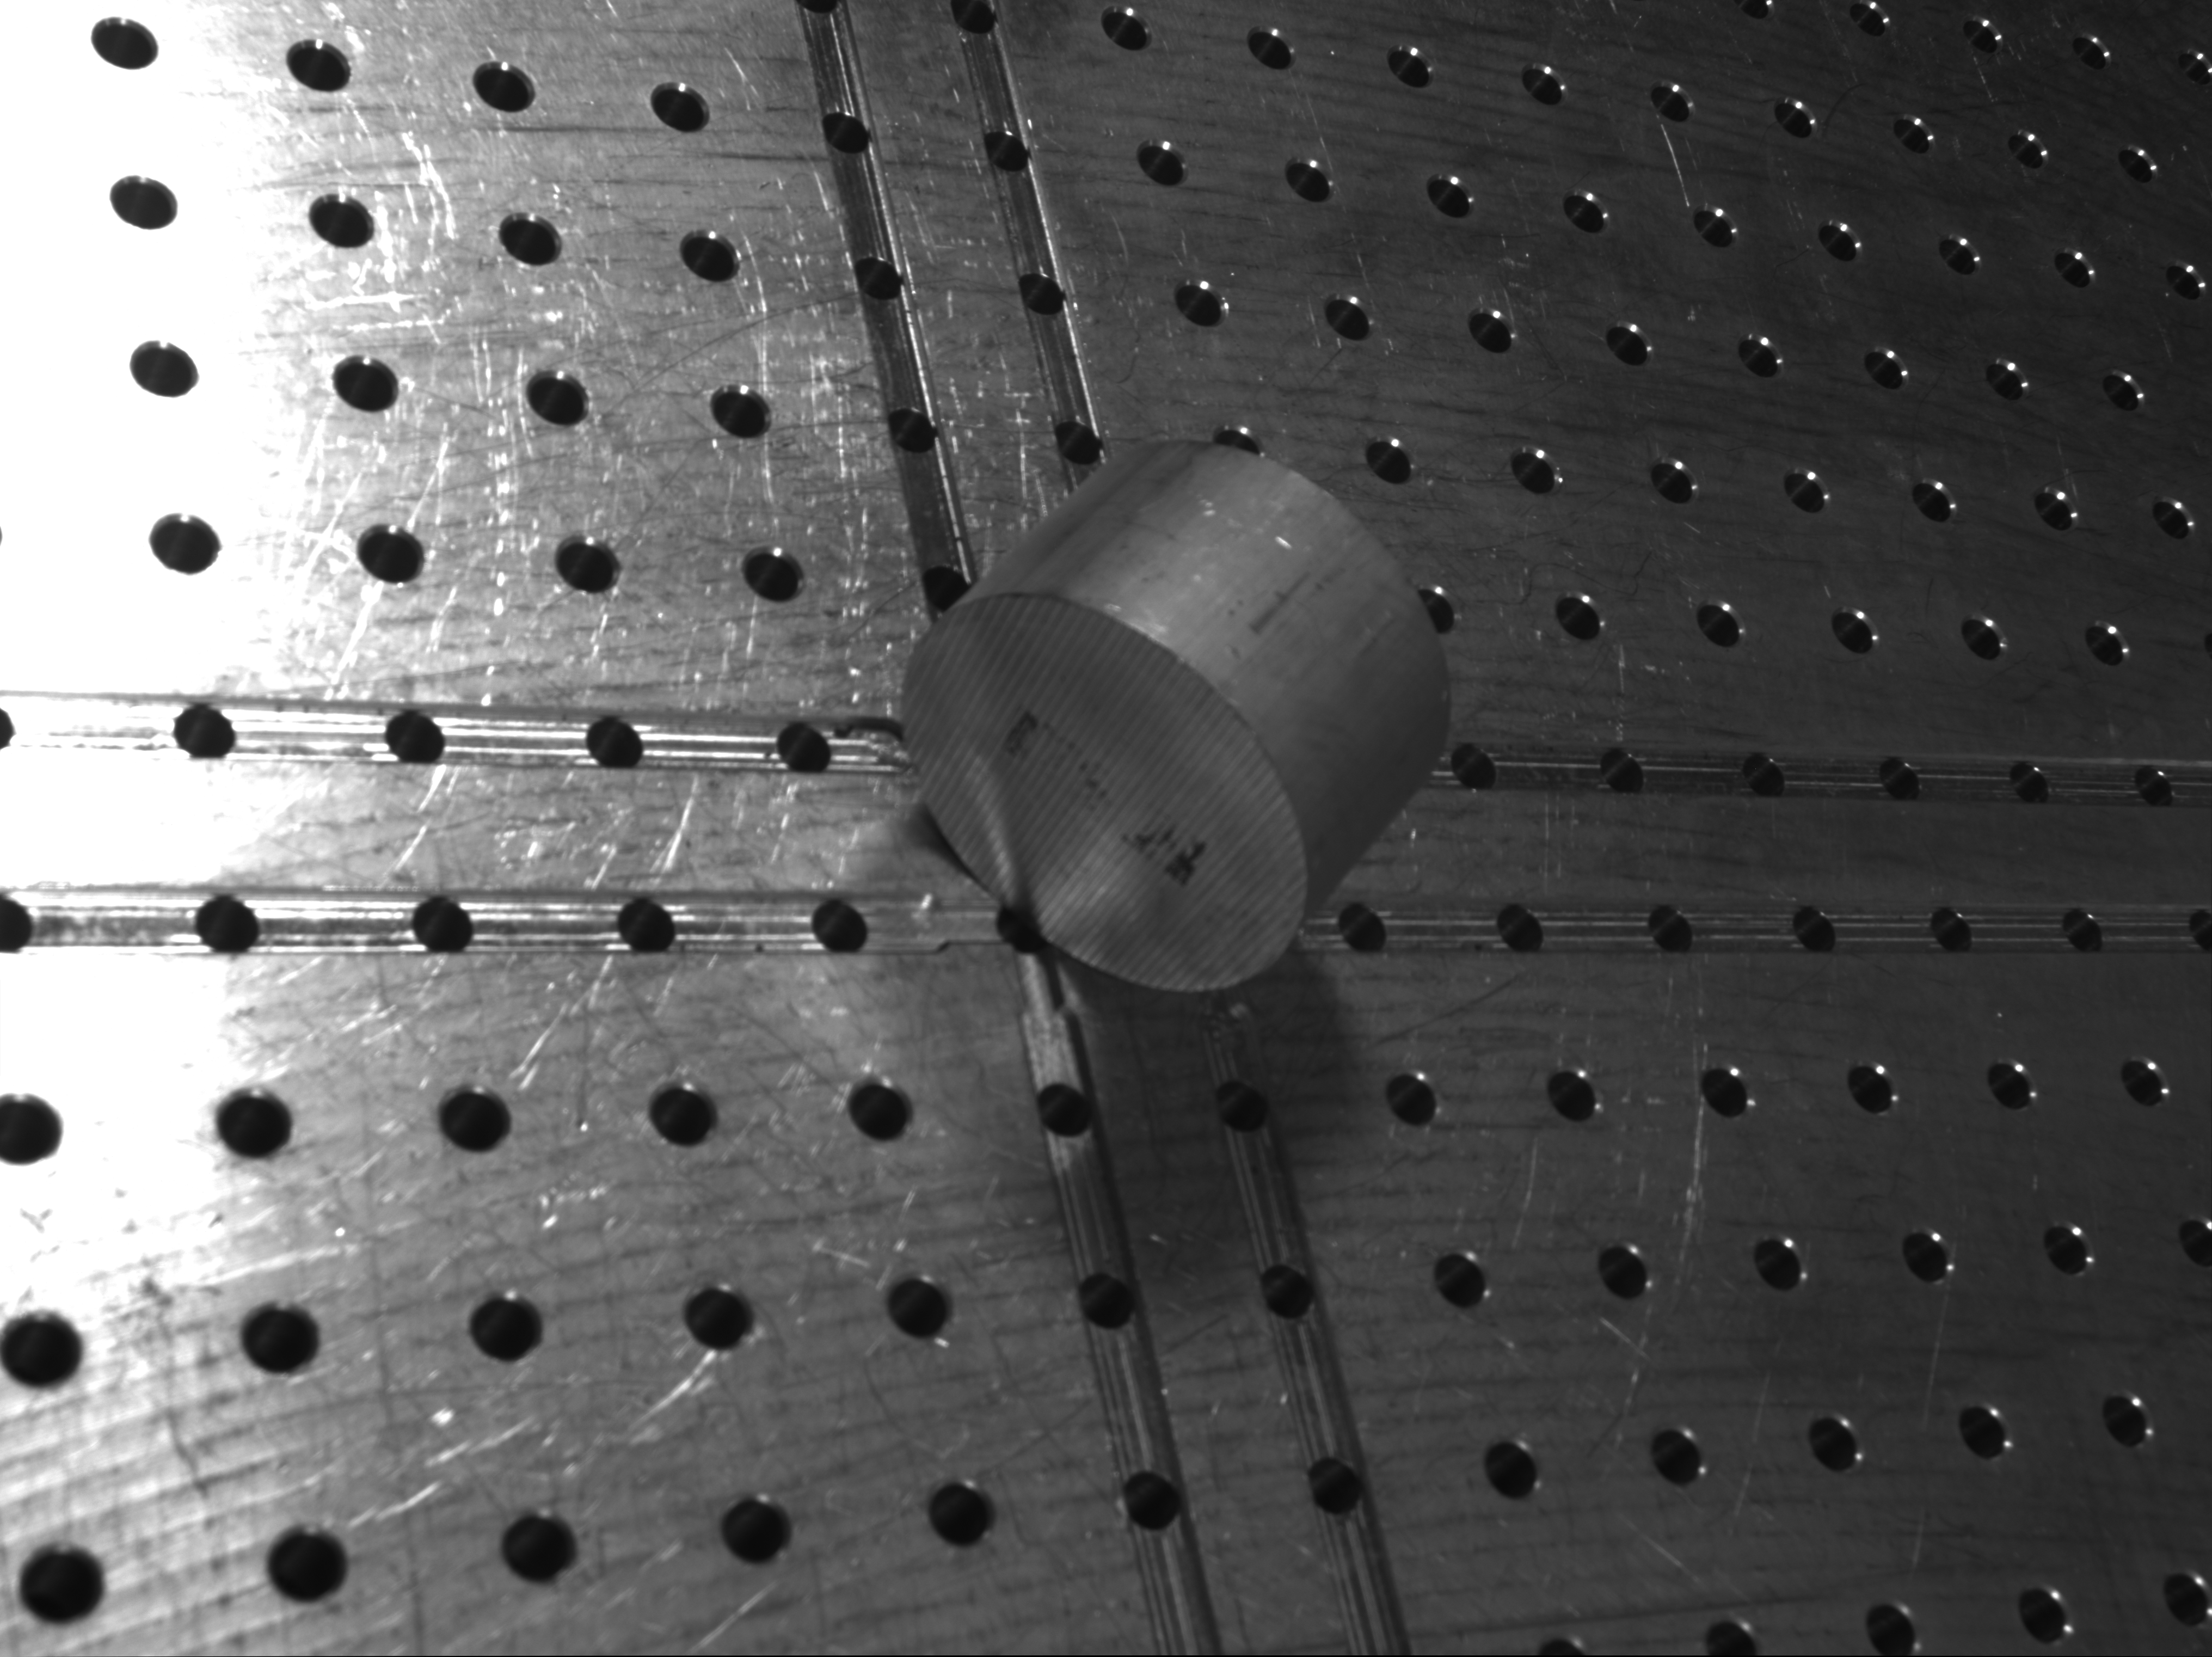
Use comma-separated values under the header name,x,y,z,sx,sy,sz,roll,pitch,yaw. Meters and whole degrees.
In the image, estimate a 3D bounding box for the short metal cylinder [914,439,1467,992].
name,x,y,z,sx,sy,sz,roll,pitch,yaw
short metal cylinder,0.014,-0.019,0.626,0.080,0.080,0.050,42,51,1
